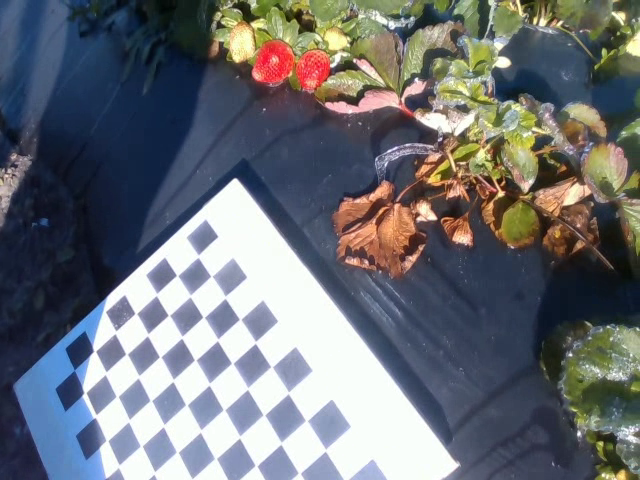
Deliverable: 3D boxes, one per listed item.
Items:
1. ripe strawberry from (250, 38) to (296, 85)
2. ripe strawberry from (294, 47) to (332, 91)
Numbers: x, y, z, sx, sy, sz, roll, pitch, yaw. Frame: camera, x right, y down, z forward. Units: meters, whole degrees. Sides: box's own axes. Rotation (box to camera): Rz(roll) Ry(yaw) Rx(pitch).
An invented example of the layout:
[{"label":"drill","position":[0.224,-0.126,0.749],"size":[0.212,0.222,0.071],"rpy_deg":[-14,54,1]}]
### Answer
[{"label":"ripe strawberry","position":[-0.046,-0.150,0.524],"size":[0.036,0.040,0.052],"rpy_deg":[8,39,24]},{"label":"ripe strawberry","position":[-0.006,-0.148,0.526],"size":[0.036,0.041,0.030],"rpy_deg":[-17,-28,17]}]
